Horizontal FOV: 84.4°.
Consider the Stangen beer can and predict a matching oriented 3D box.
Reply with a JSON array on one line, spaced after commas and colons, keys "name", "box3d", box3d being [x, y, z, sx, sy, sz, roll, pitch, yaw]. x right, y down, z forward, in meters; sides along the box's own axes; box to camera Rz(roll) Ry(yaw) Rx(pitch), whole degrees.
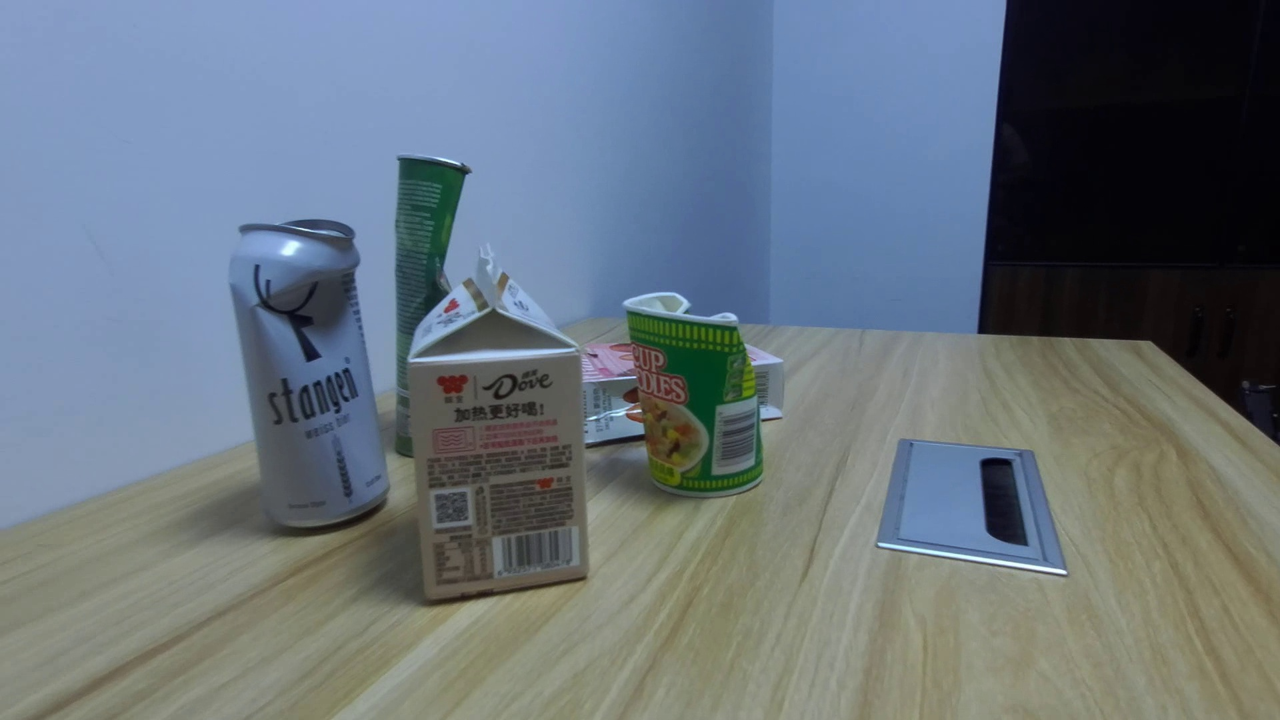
[{"name": "Stangen beer can", "box3d": [-0.177, 0.007, 0.381, 0.066, 0.162, 0.076, -10, 17, -31]}]

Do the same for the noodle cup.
[{"name": "noodle cup", "box3d": [0.036, 0.017, 0.420, 0.075, 0.122, 0.083, -5, 23, 18]}]

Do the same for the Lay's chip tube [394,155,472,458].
[{"name": "Lay's chip tube", "box3d": [-0.142, -0.037, 0.488, 0.077, 0.201, 0.069, 6, 14, 25]}]

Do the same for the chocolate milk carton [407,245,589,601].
[{"name": "chocolate milk carton", "box3d": [-0.067, 0.024, 0.336, 0.074, 0.148, 0.075, -4, 11, -14]}]
